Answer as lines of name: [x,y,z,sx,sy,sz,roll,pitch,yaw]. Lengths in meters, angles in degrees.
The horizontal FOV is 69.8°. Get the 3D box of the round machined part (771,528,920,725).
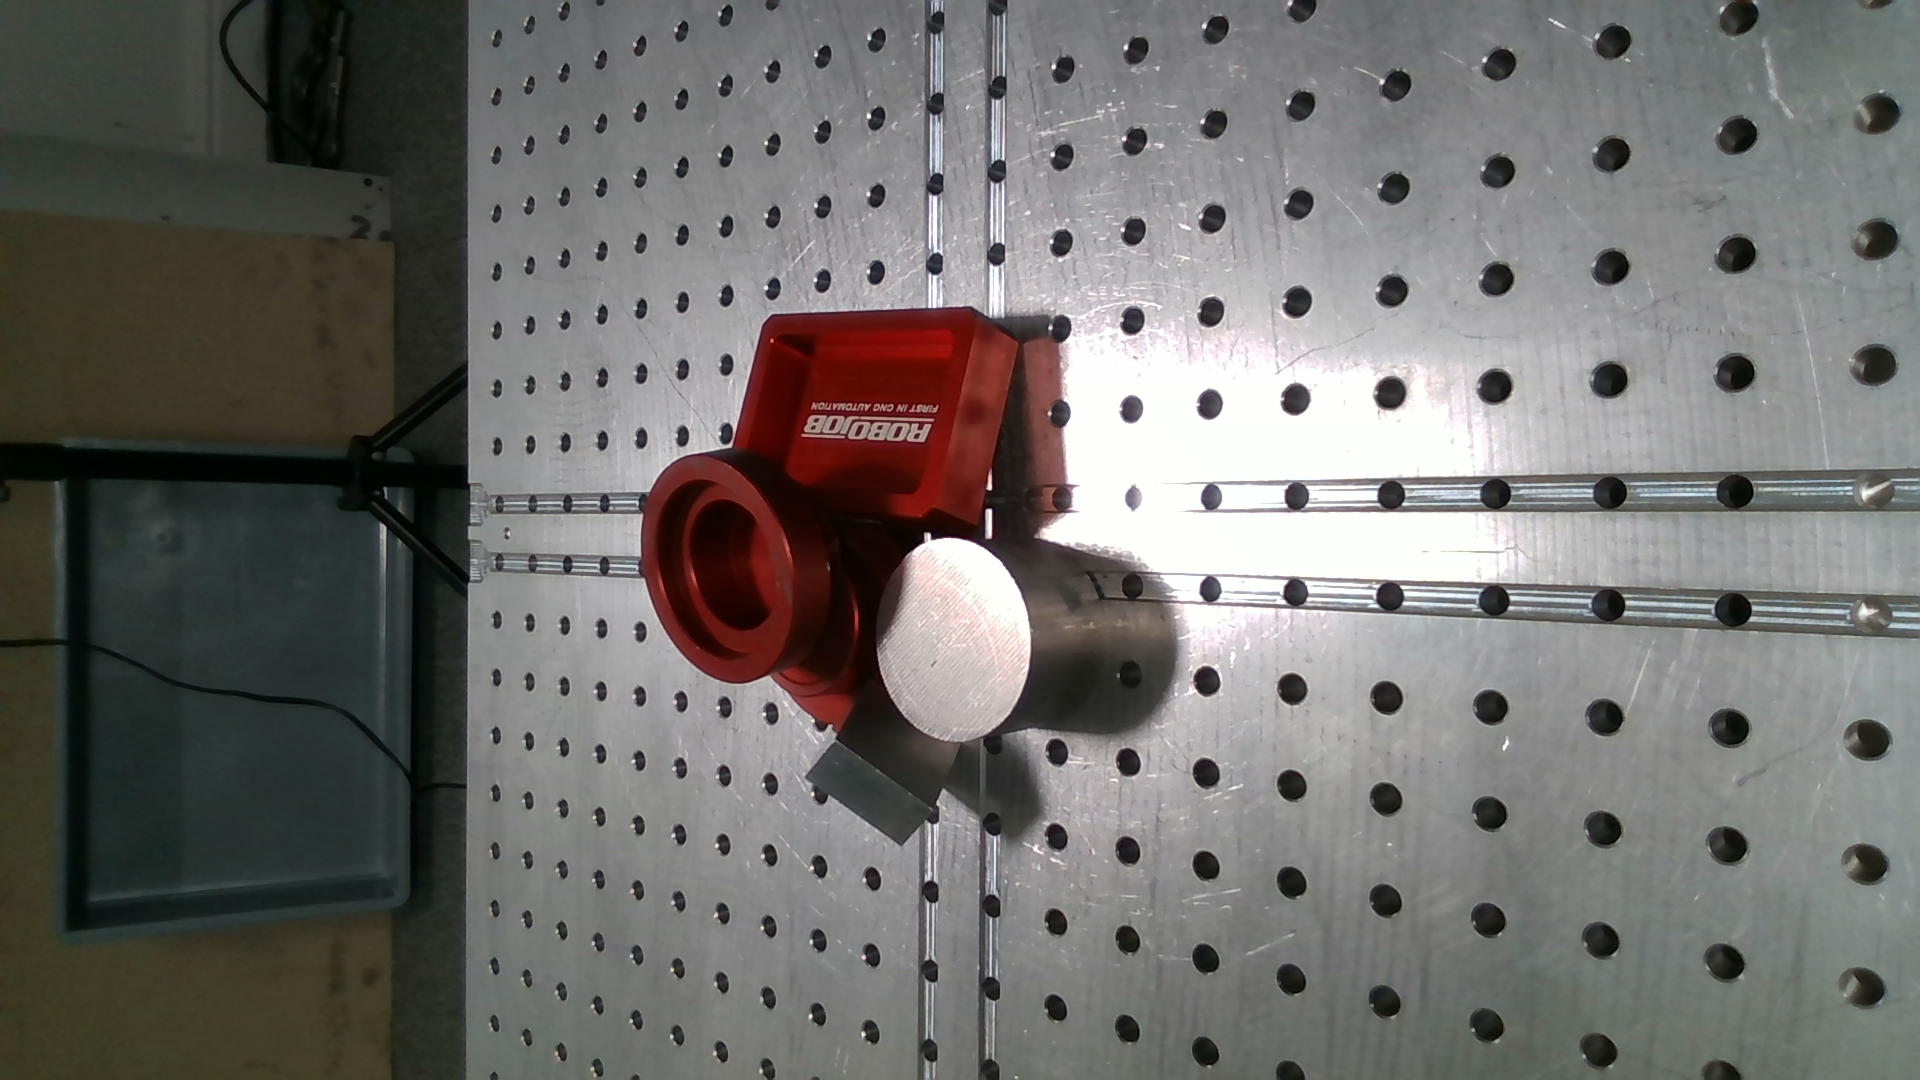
round machined part: [-0.057,0.035,0.621,0.098,0.042,0.098,0,91,40]

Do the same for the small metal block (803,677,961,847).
small metal block: [-0.032,0.093,0.584,0.050,0.050,0.025,36,118,-4]

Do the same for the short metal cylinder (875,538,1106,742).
short metal cylinder: [0.012,0.039,0.559,0.080,0.050,0.080,0,91,40]

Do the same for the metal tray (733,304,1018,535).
metal tray: [-0.043,-0.054,0.603,0.130,0.030,0.090,6,80,40]

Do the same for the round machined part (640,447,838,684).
round machined part: [-0.090,0.009,0.588,0.098,0.042,0.098,12,109,40]
